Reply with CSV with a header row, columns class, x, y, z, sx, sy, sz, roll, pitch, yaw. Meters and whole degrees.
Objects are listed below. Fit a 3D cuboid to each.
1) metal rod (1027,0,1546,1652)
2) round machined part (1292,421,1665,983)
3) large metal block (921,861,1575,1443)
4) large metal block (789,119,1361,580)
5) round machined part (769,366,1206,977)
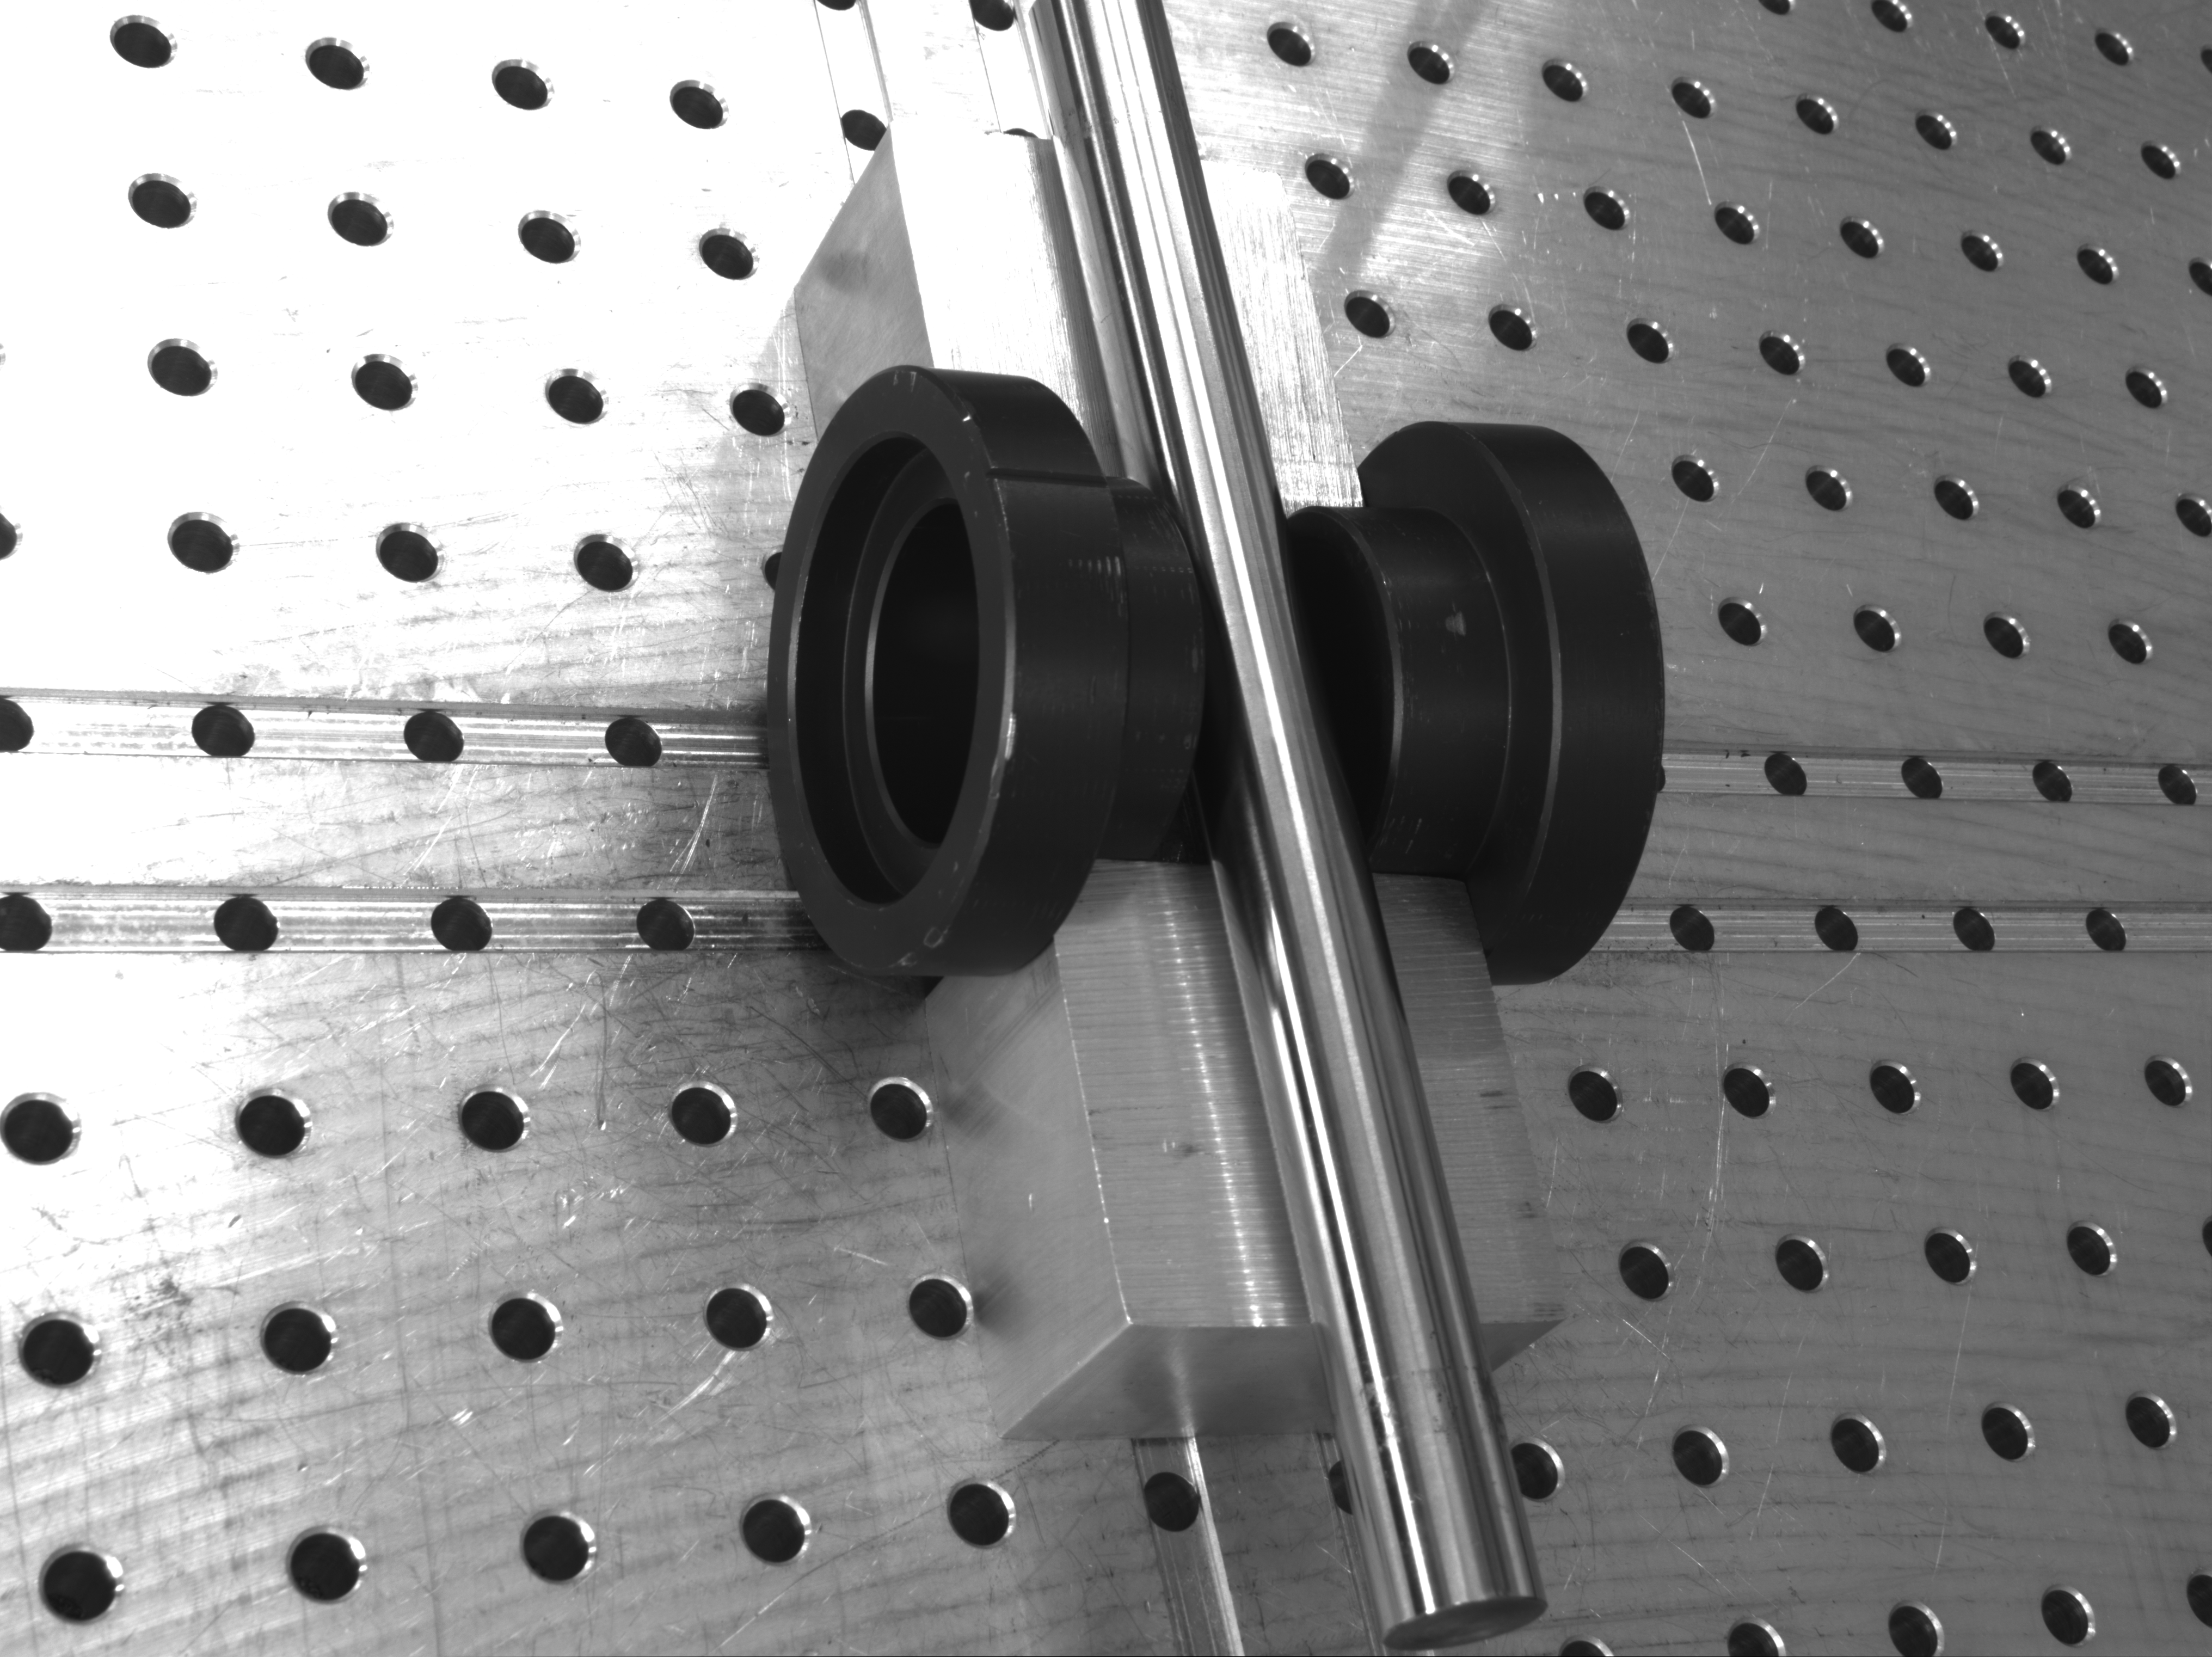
class,x,y,z,sx,sy,sz,roll,pitch,yaw
metal rod,0.025,-0.016,0.601,0.025,0.025,0.300,3,61,-27
round machined part,0.054,-0.021,0.637,0.042,0.098,0.098,-1,62,-23
large metal block,0.022,0.053,0.605,0.080,0.050,0.080,3,60,-27
large metal block,-0.006,-0.077,0.670,0.080,0.050,0.080,2,61,-27
round machined part,-0.018,-0.025,0.600,0.042,0.098,0.098,2,61,-27
